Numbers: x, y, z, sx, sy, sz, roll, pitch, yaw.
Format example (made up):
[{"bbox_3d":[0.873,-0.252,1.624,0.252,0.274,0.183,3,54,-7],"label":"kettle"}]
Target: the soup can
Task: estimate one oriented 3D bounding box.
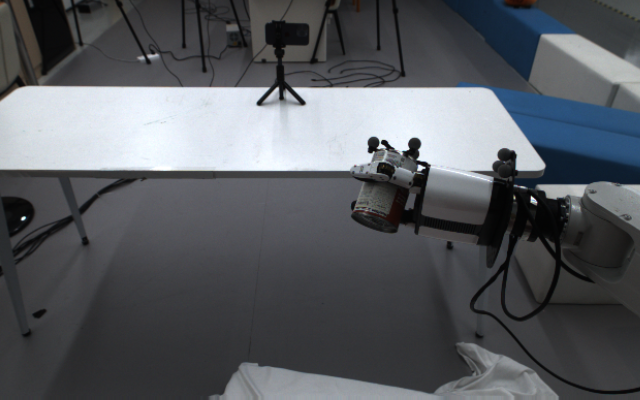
[{"bbox_3d":[0.093,-0.013,0.681,0.067,0.067,0.101,15,74,18],"label":"soup can"}]
